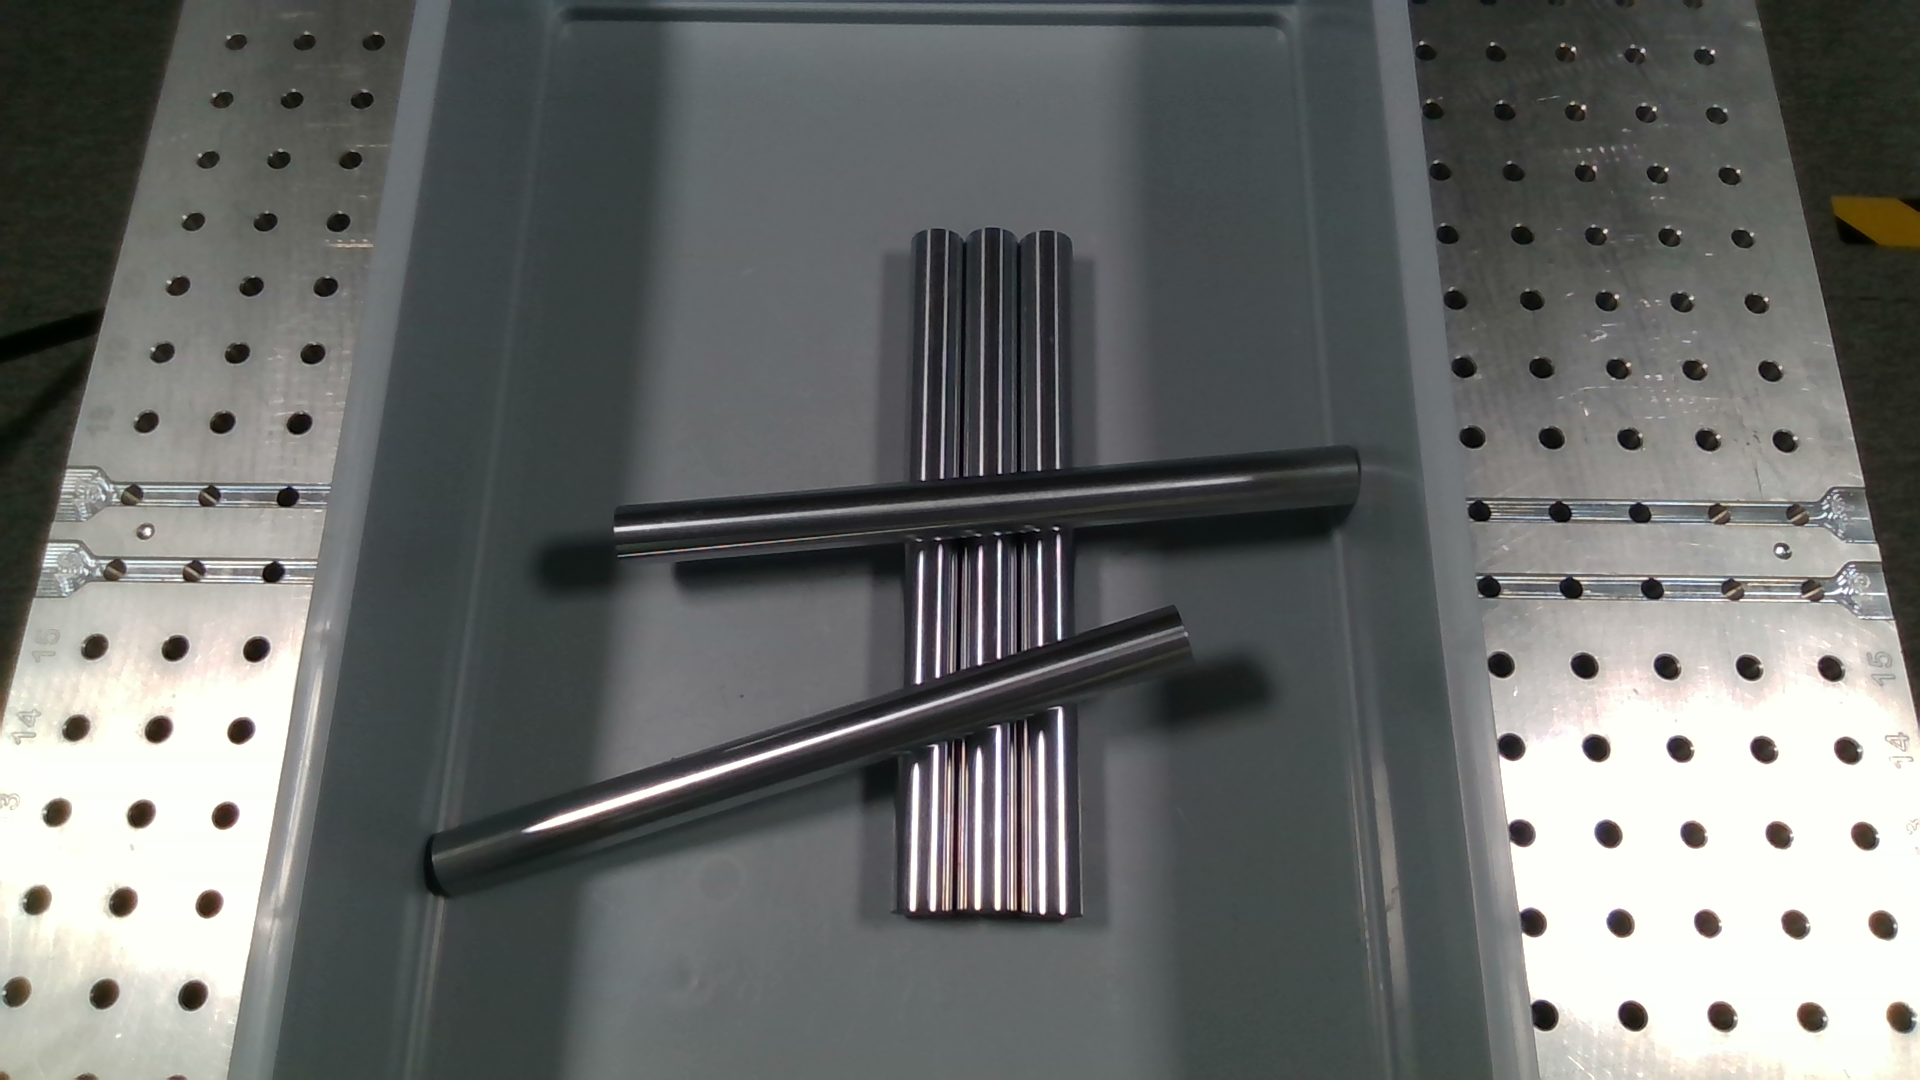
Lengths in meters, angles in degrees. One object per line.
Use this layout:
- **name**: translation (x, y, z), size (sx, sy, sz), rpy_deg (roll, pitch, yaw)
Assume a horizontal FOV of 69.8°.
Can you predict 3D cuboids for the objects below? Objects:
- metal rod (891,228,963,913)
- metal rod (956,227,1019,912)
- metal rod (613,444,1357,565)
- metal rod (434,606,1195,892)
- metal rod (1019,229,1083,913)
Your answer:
- **metal rod**: translation (-0.013, 0.004, 0.586), size (0.025, 0.025, 0.299), rpy_deg (1, 70, 0)
- **metal rod**: translation (0.012, 0.003, 0.586), size (0.025, 0.025, 0.299), rpy_deg (1, 70, 0)
- **metal rod**: translation (0.011, -0.015, 0.566), size (0.300, 0.025, 0.025), rpy_deg (-5, 70, -2)
- **metal rod**: translation (-0.057, 0.082, 0.537), size (0.300, 0.025, 0.025), rpy_deg (-17, 71, 1)
- **metal rod**: translation (0.037, 0.004, 0.586), size (0.025, 0.025, 0.299), rpy_deg (1, 70, 0)
